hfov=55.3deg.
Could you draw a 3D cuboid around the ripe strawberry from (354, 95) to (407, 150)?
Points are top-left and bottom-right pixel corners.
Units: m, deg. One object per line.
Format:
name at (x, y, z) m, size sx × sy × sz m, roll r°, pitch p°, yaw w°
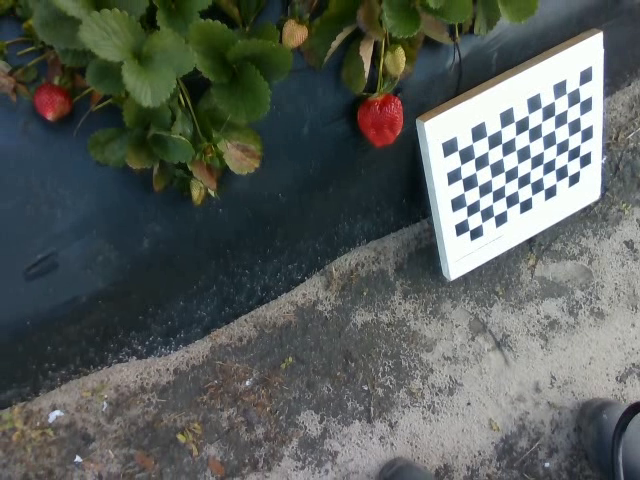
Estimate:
ripe strawberry at (0.081, -0.157, 0.800) m, size 0.067 × 0.075 × 0.039 m, roll -22°, pitch 34°, yaw -11°
